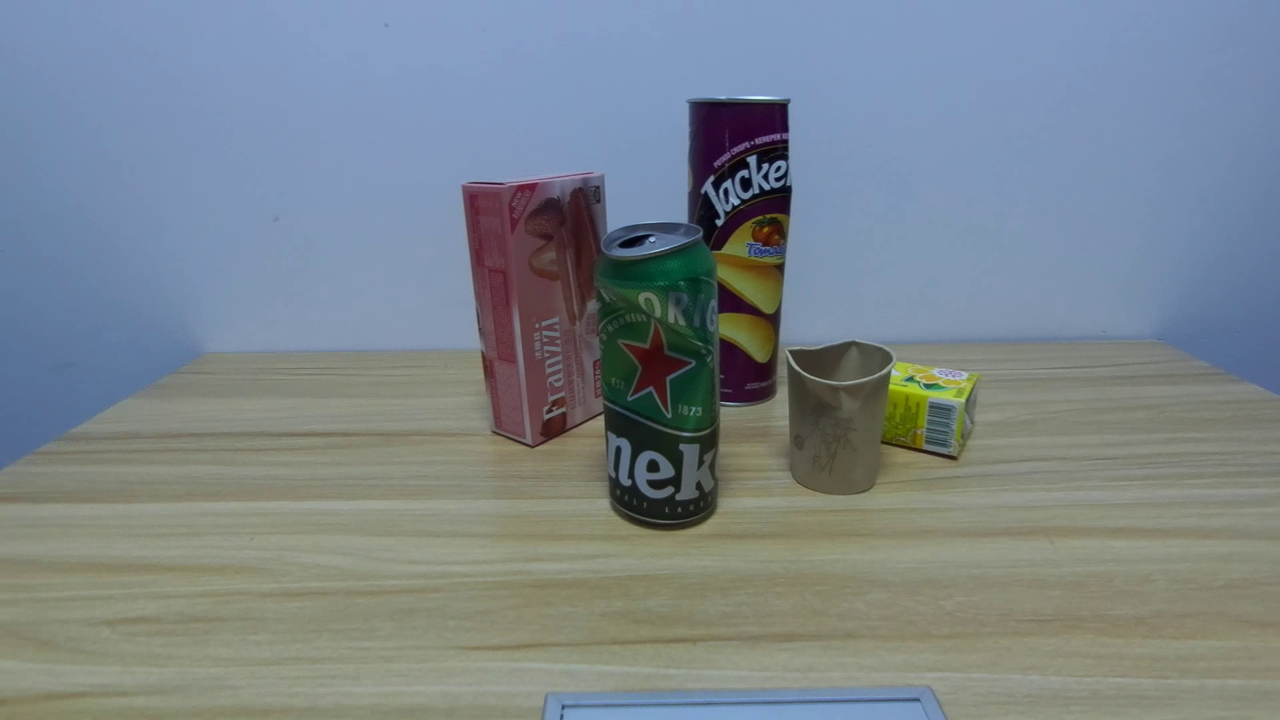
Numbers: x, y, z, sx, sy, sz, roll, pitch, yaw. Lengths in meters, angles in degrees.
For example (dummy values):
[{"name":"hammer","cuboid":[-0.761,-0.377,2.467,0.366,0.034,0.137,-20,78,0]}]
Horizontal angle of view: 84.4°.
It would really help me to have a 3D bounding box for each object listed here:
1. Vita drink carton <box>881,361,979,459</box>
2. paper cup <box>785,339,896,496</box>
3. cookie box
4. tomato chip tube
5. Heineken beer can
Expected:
[{"name":"Vita drink carton","cuboid":[0.186,0.030,0.523,0.108,0.043,0.067,10,20,31]},{"name":"paper cup","cuboid":[0.128,0.037,0.445,0.072,0.084,0.066,-9,20,-22]},{"name":"cookie box","cuboid":[-0.068,-0.040,0.521,0.048,0.184,0.096,12,24,38]},{"name":"tomato chip tube","cuboid":[0.076,-0.084,0.563,0.076,0.235,0.077,-1,17,0]},{"name":"Heineken beer can","cuboid":[0.011,0.011,0.402,0.069,0.168,0.068,-3,21,2]}]
